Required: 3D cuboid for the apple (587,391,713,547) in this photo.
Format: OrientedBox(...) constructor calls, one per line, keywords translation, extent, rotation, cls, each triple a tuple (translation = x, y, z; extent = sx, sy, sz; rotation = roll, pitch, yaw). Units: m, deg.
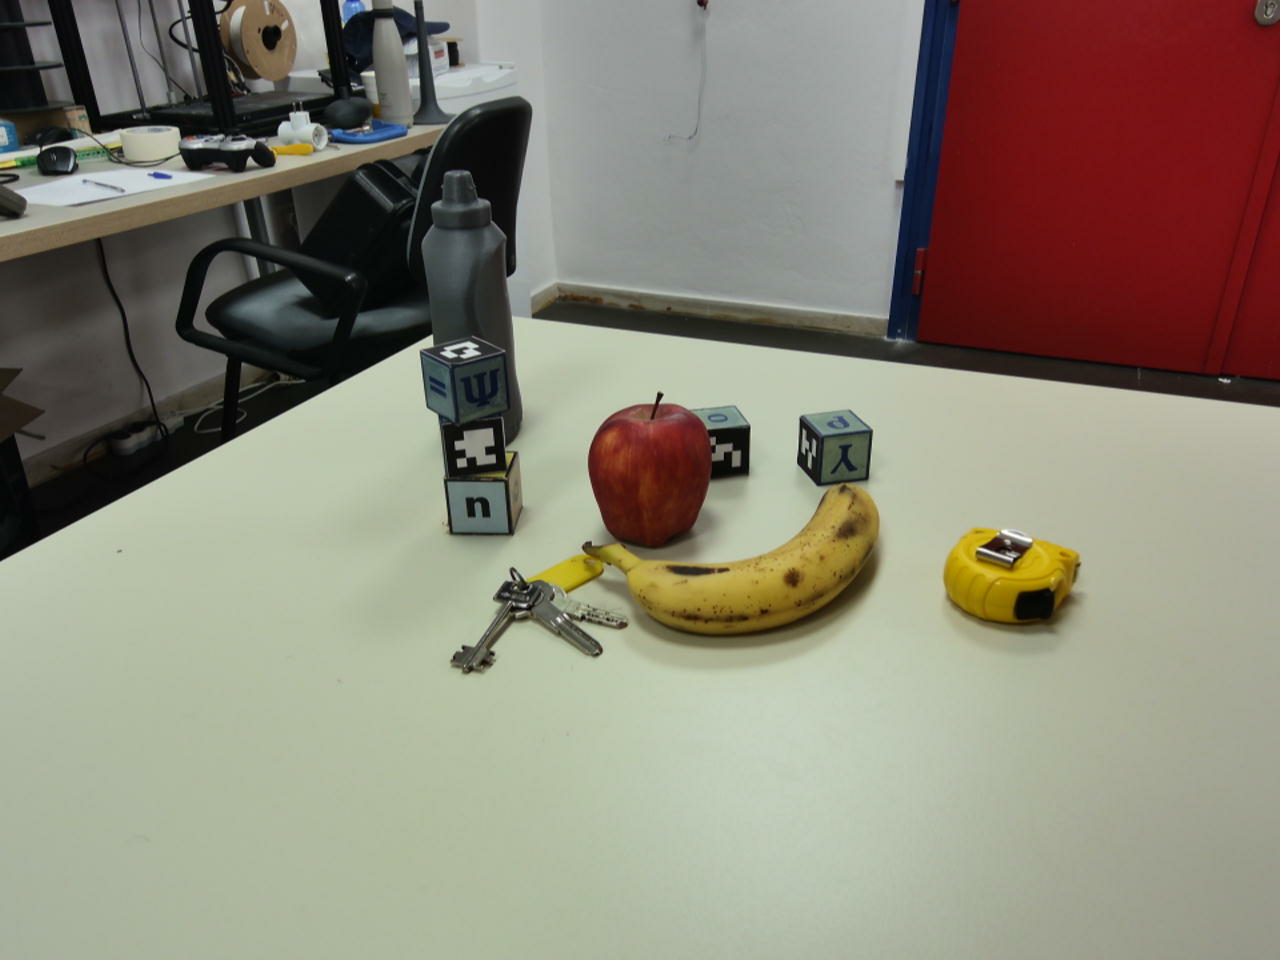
OrientedBox(translation=(0.006, -0.011, 0.605), extent=(0.083, 0.090, 0.083), rotation=(-1, 26, 0), cls="apple")
